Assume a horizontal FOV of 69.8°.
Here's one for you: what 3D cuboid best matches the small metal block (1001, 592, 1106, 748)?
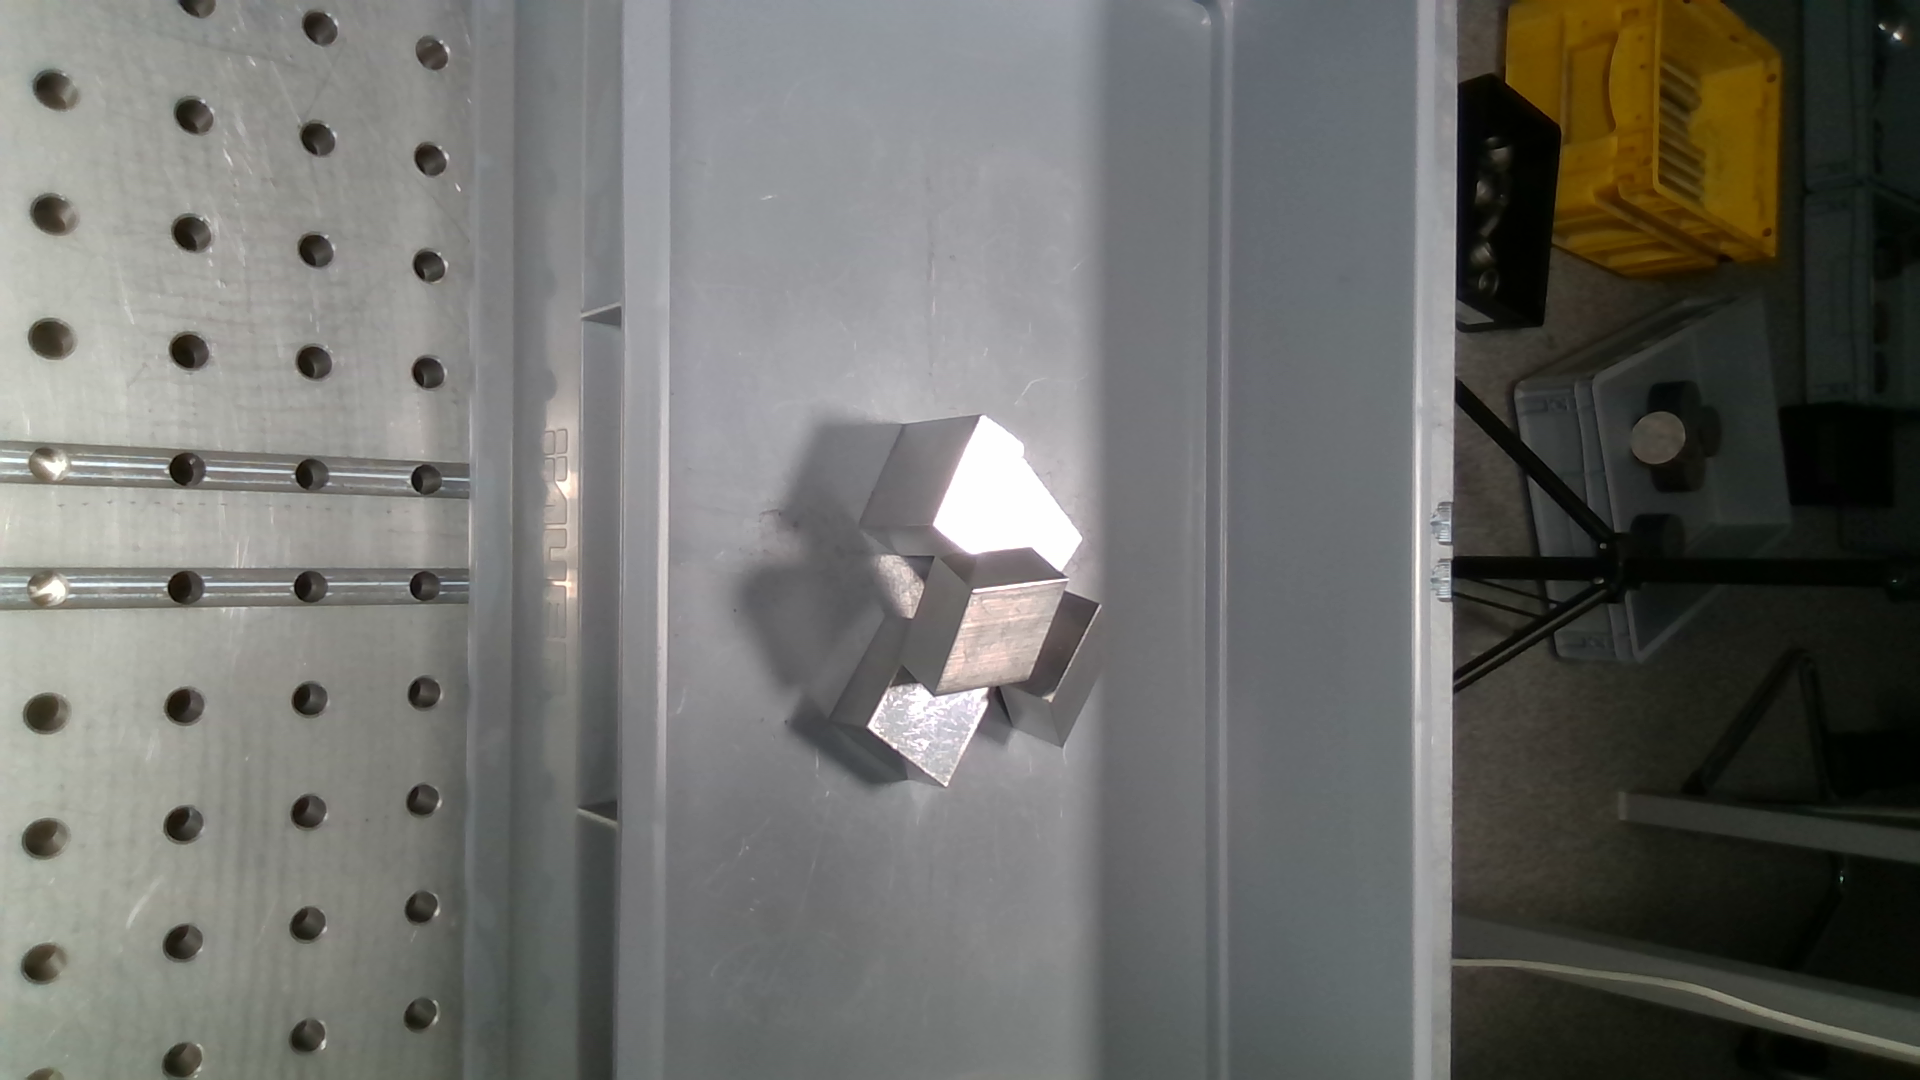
[{"bbox_3d":[0.042,0.056,0.602,0.050,0.025,0.050,-60,157,-23],"label":"small metal block"}]

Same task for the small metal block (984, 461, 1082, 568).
[{"bbox_3d":[0.019,0.000,0.596,0.050,0.025,0.050,51,60,-28],"label":"small metal block"}]

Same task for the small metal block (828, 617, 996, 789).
[{"bbox_3d":[-0.018,0.066,0.566,0.050,0.025,0.050,43,64,-32],"label":"small metal block"}]

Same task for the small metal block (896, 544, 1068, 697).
[{"bbox_3d":[0.009,0.031,0.541,0.050,0.025,0.050,-5,125,-40],"label":"small metal block"}]

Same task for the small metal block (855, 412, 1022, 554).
[{"bbox_3d":[-0.009,-0.022,0.557,0.025,0.050,0.050,36,68,-34],"label":"small metal block"}]
